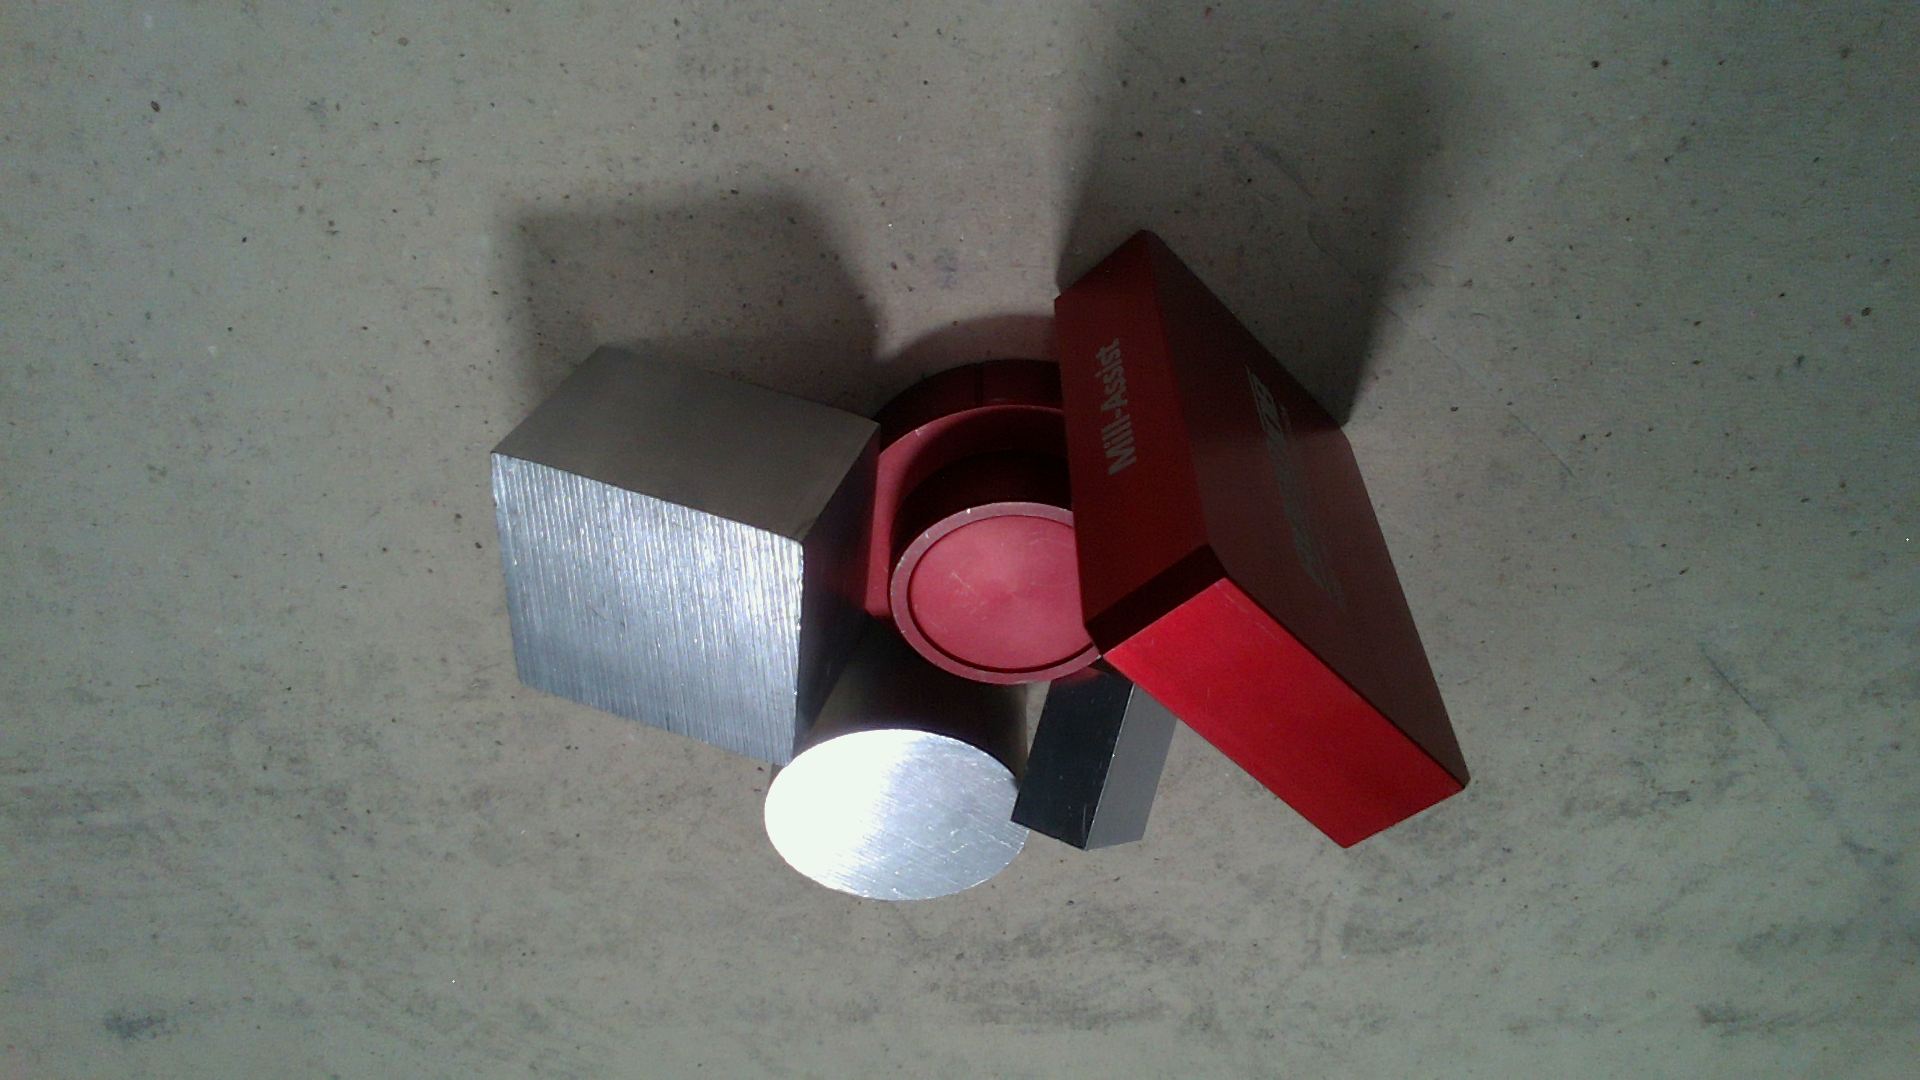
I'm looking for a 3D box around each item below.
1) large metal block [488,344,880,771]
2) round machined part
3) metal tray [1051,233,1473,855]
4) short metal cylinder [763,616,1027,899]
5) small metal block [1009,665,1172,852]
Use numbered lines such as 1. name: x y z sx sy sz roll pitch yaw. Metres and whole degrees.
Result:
1. large metal block: -0.070 0.005 0.362 0.080 0.050 0.080 16 130 8
2. round machined part: 0.015 0.001 0.382 0.098 0.042 0.098 0 130 0
3. metal tray: 0.065 -0.004 0.317 0.030 0.130 0.090 -37 121 27
4. short metal cylinder: -0.019 0.068 0.432 0.080 0.050 0.080 0 130 0
5. small metal block: 0.043 0.064 0.414 0.025 0.050 0.050 17 180 27
